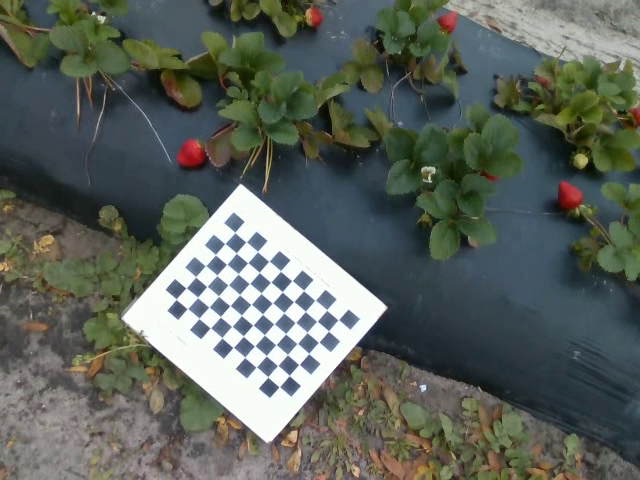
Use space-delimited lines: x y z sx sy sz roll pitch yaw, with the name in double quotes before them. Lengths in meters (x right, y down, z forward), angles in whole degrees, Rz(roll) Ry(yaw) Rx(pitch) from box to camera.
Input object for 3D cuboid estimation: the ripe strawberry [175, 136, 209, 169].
"ripe strawberry" -0.133 -0.092 0.660 0.032 0.029 0.023 -34 -8 -5
